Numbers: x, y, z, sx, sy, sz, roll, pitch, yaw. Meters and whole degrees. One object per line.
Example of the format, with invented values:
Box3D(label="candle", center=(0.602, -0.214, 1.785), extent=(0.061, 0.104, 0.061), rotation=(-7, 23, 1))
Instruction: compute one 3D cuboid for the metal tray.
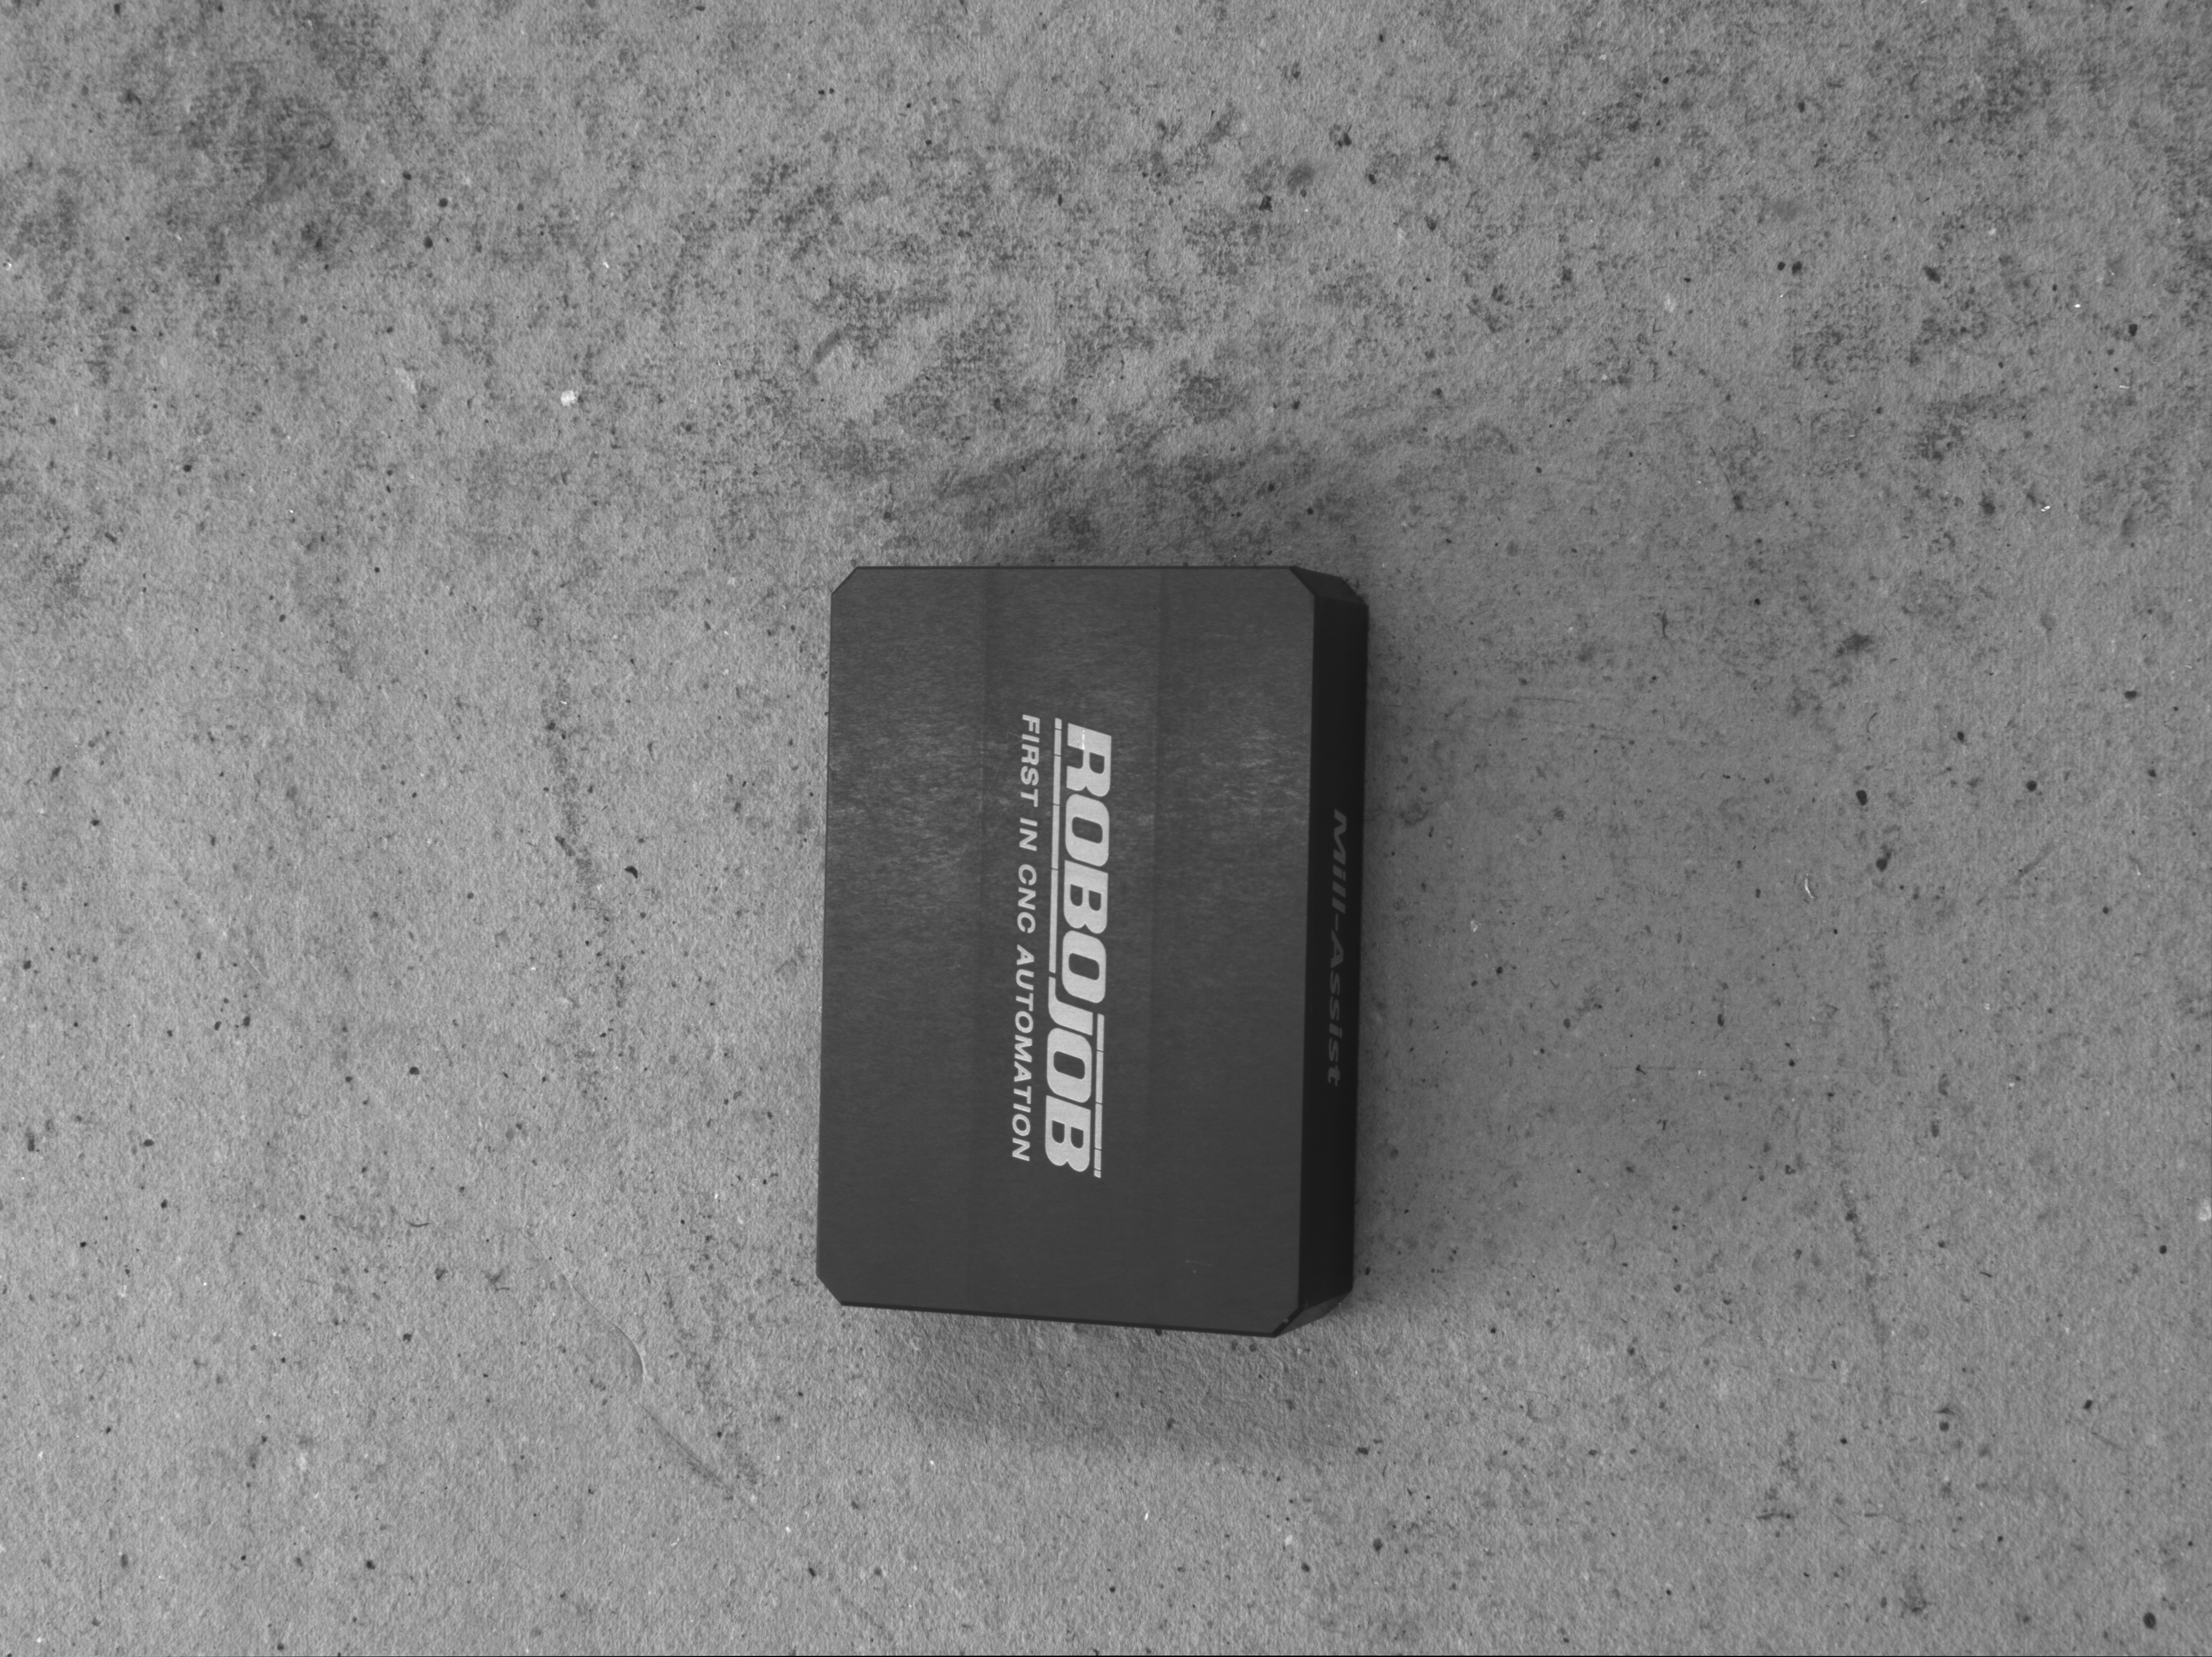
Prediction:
Box3D(label="metal tray", center=(-0.003, 0.020, 0.645), extent=(0.090, 0.030, 0.130), rotation=(1, 91, 20))
